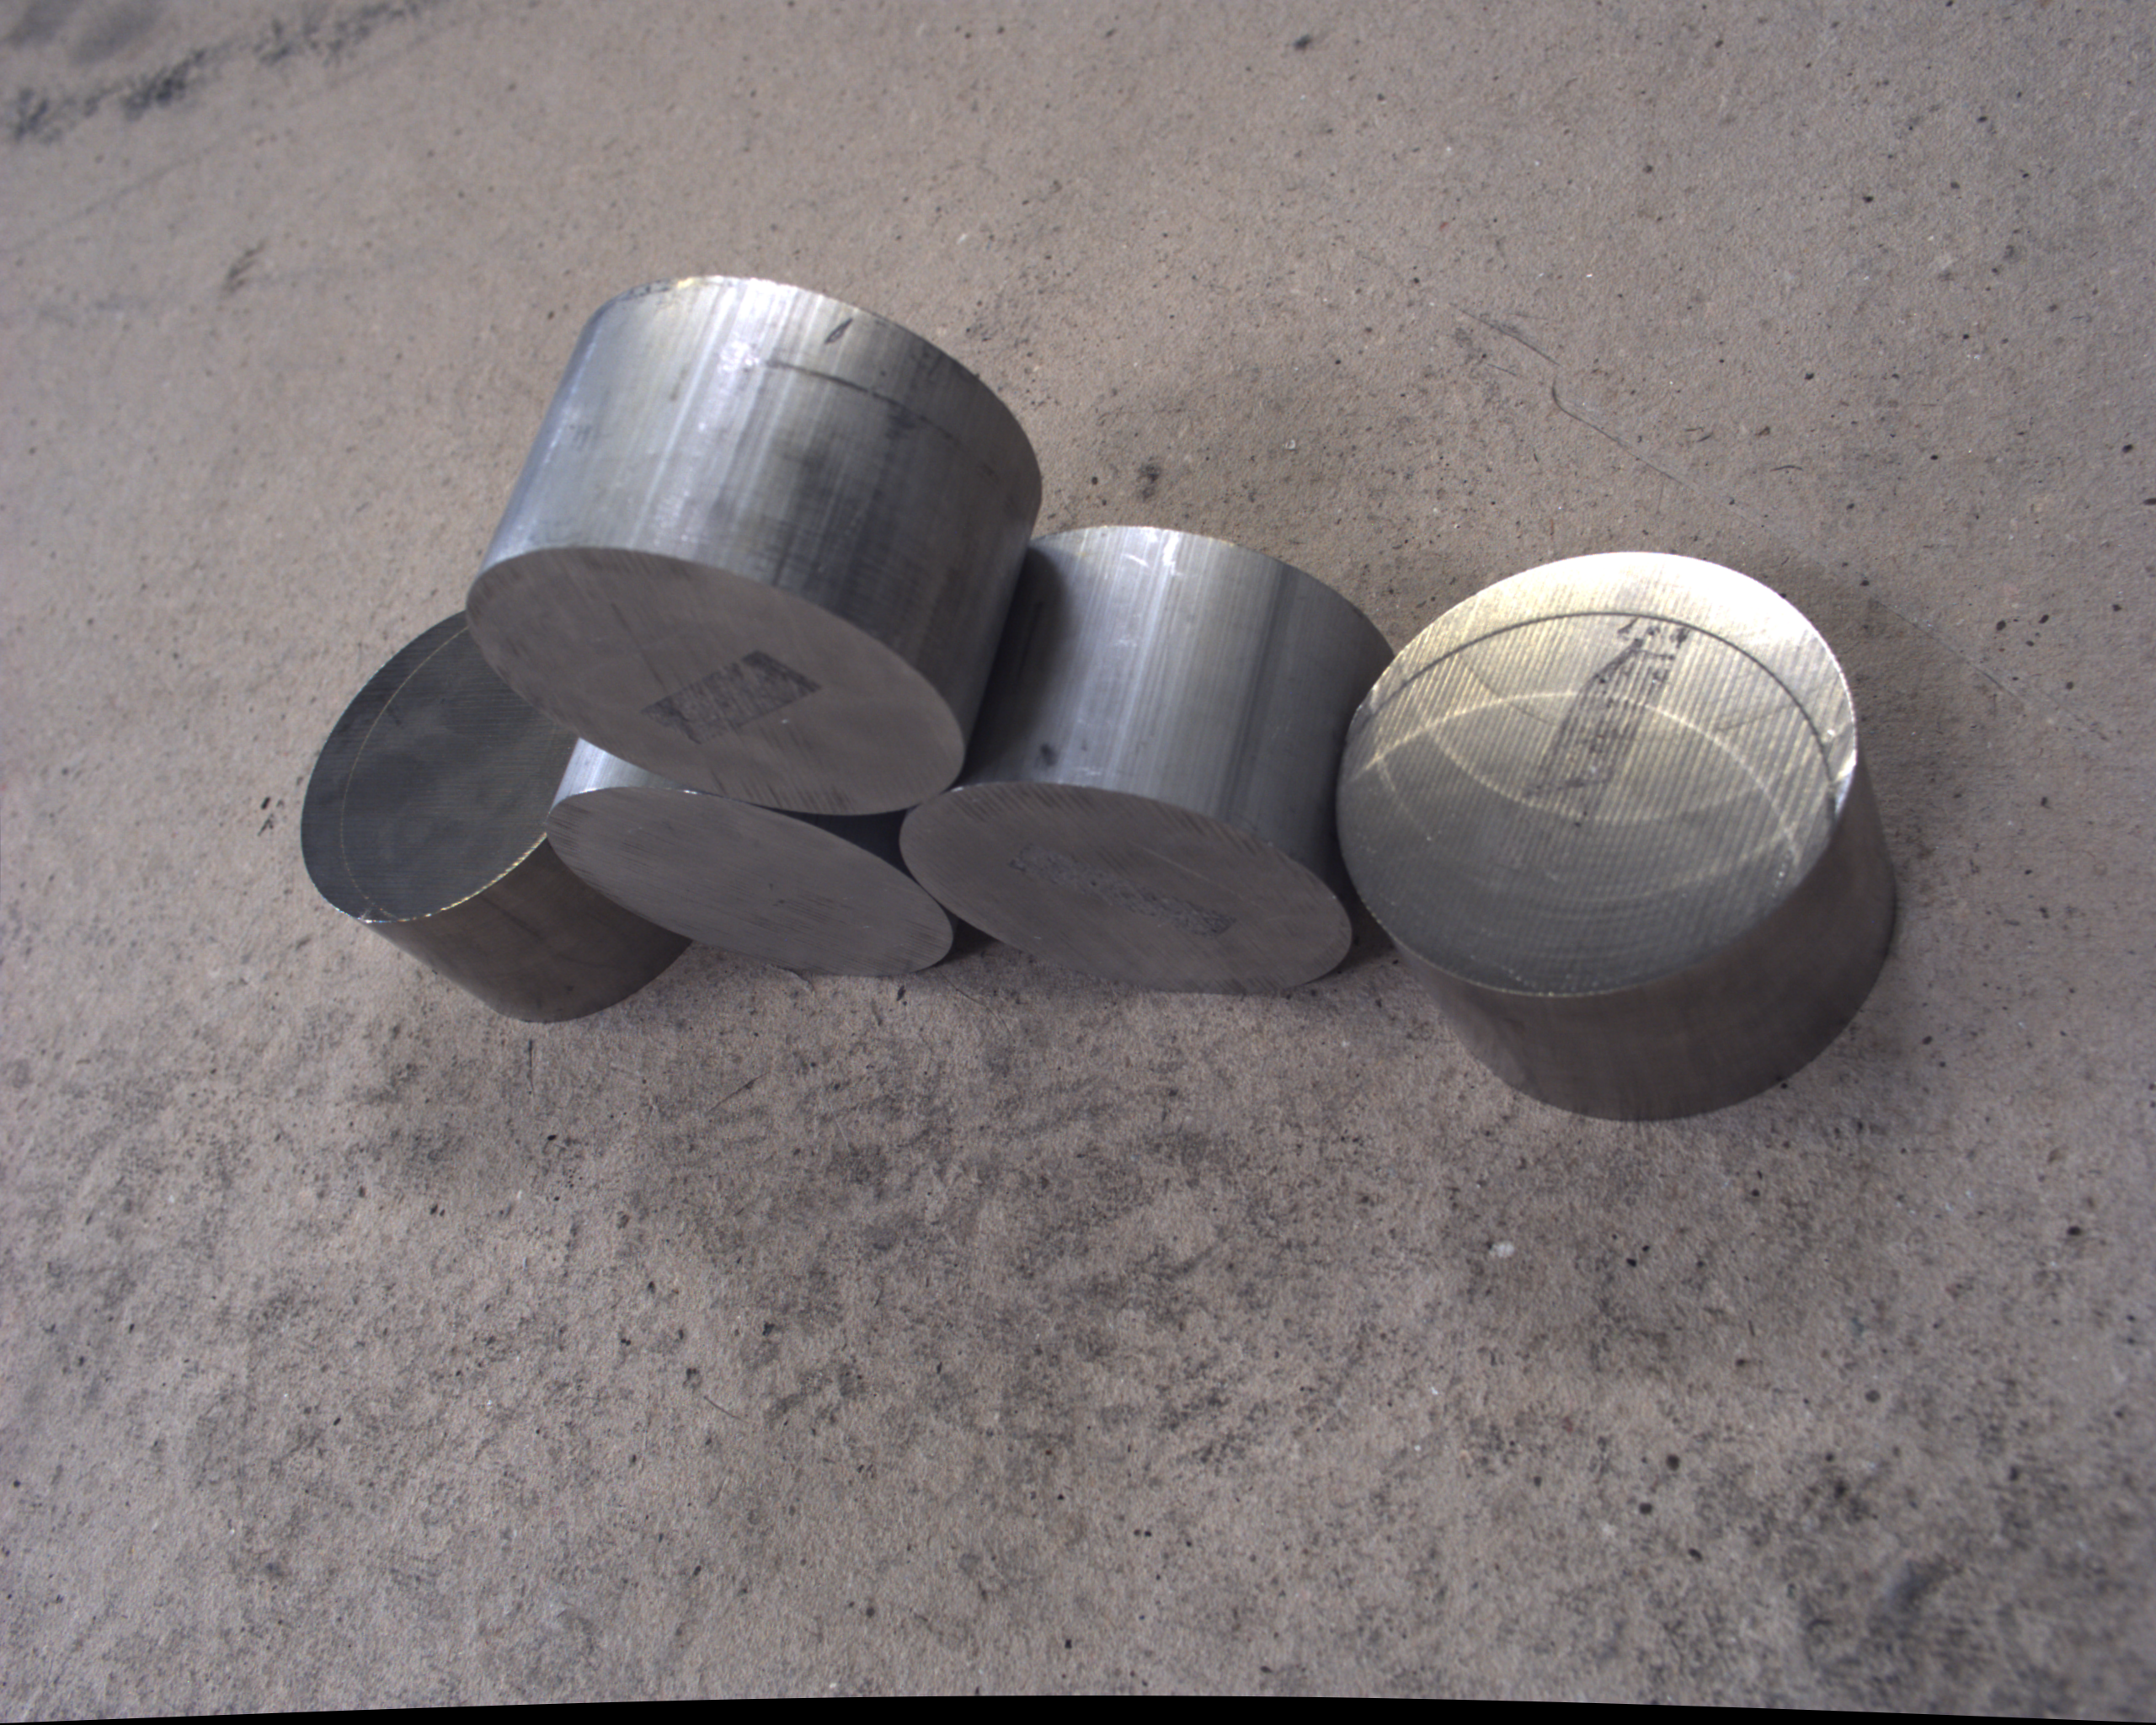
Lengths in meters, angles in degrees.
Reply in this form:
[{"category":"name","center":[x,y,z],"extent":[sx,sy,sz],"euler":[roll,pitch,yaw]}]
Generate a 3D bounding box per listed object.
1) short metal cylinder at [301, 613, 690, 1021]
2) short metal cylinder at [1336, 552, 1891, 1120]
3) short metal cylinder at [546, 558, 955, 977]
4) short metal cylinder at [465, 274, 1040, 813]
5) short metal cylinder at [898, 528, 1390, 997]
[{"category":"short metal cylinder","center":[-0.121,-0.012,0.460],"extent":[0.080,0.050,0.080],"euler":[-13,57,21]},{"category":"short metal cylinder","center":[0.089,-0.004,0.344],"extent":[0.080,0.050,0.080],"euler":[-13,57,21]},{"category":"short metal cylinder","center":[-0.057,-0.017,0.411],"extent":[0.080,0.080,0.050],"euler":[0,62,28]},{"category":"short metal cylinder","center":[-0.051,-0.049,0.338],"extent":[0.080,0.080,0.050],"euler":[1,63,28]},{"category":"short metal cylinder","center":[0.014,-0.016,0.373],"extent":[0.080,0.080,0.050],"euler":[0,61,28]}]
